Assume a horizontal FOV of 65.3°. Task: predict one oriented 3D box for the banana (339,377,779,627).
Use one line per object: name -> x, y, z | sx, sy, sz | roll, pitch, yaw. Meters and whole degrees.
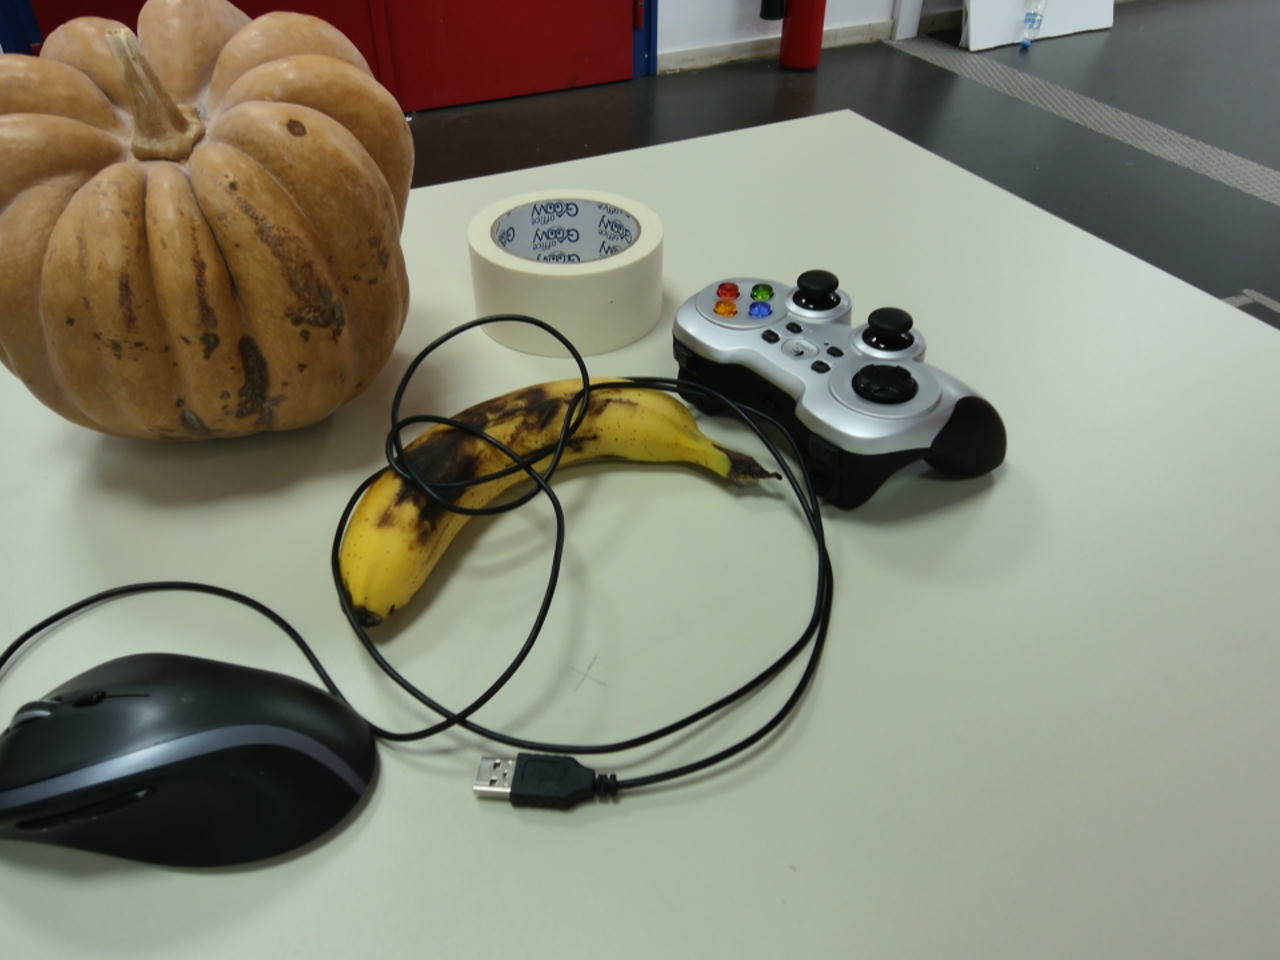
banana -> -0.045, -0.004, 0.423 | 0.187, 0.039, 0.094 | -18, 41, -23
